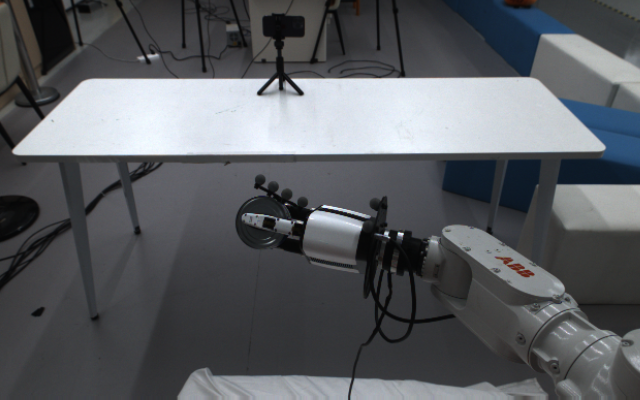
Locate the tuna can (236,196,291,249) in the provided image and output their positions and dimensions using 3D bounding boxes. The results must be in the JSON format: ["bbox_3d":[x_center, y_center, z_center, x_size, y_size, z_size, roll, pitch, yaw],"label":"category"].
[{"bbox_3d":[-0.089,0.038,0.776,0.085,0.085,0.034,10,-4,11],"label":"tuna can"}]
